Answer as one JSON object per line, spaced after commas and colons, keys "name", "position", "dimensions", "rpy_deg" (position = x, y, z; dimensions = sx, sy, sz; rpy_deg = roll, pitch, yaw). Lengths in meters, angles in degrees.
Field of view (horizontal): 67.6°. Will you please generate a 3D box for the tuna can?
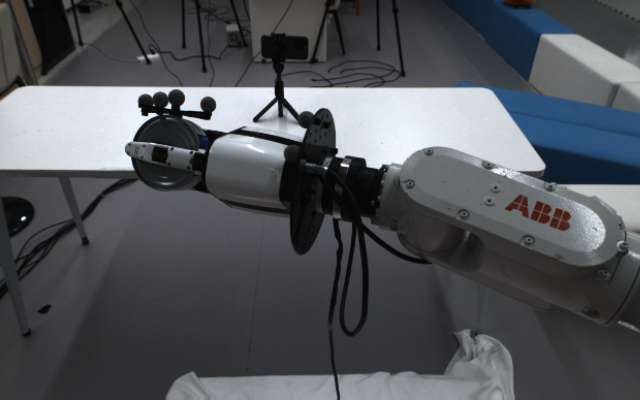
{"name": "tuna can", "position": [-0.168, -0.053, 0.556], "dimensions": [0.085, 0.085, 0.034], "rpy_deg": [11, 3, 13]}
